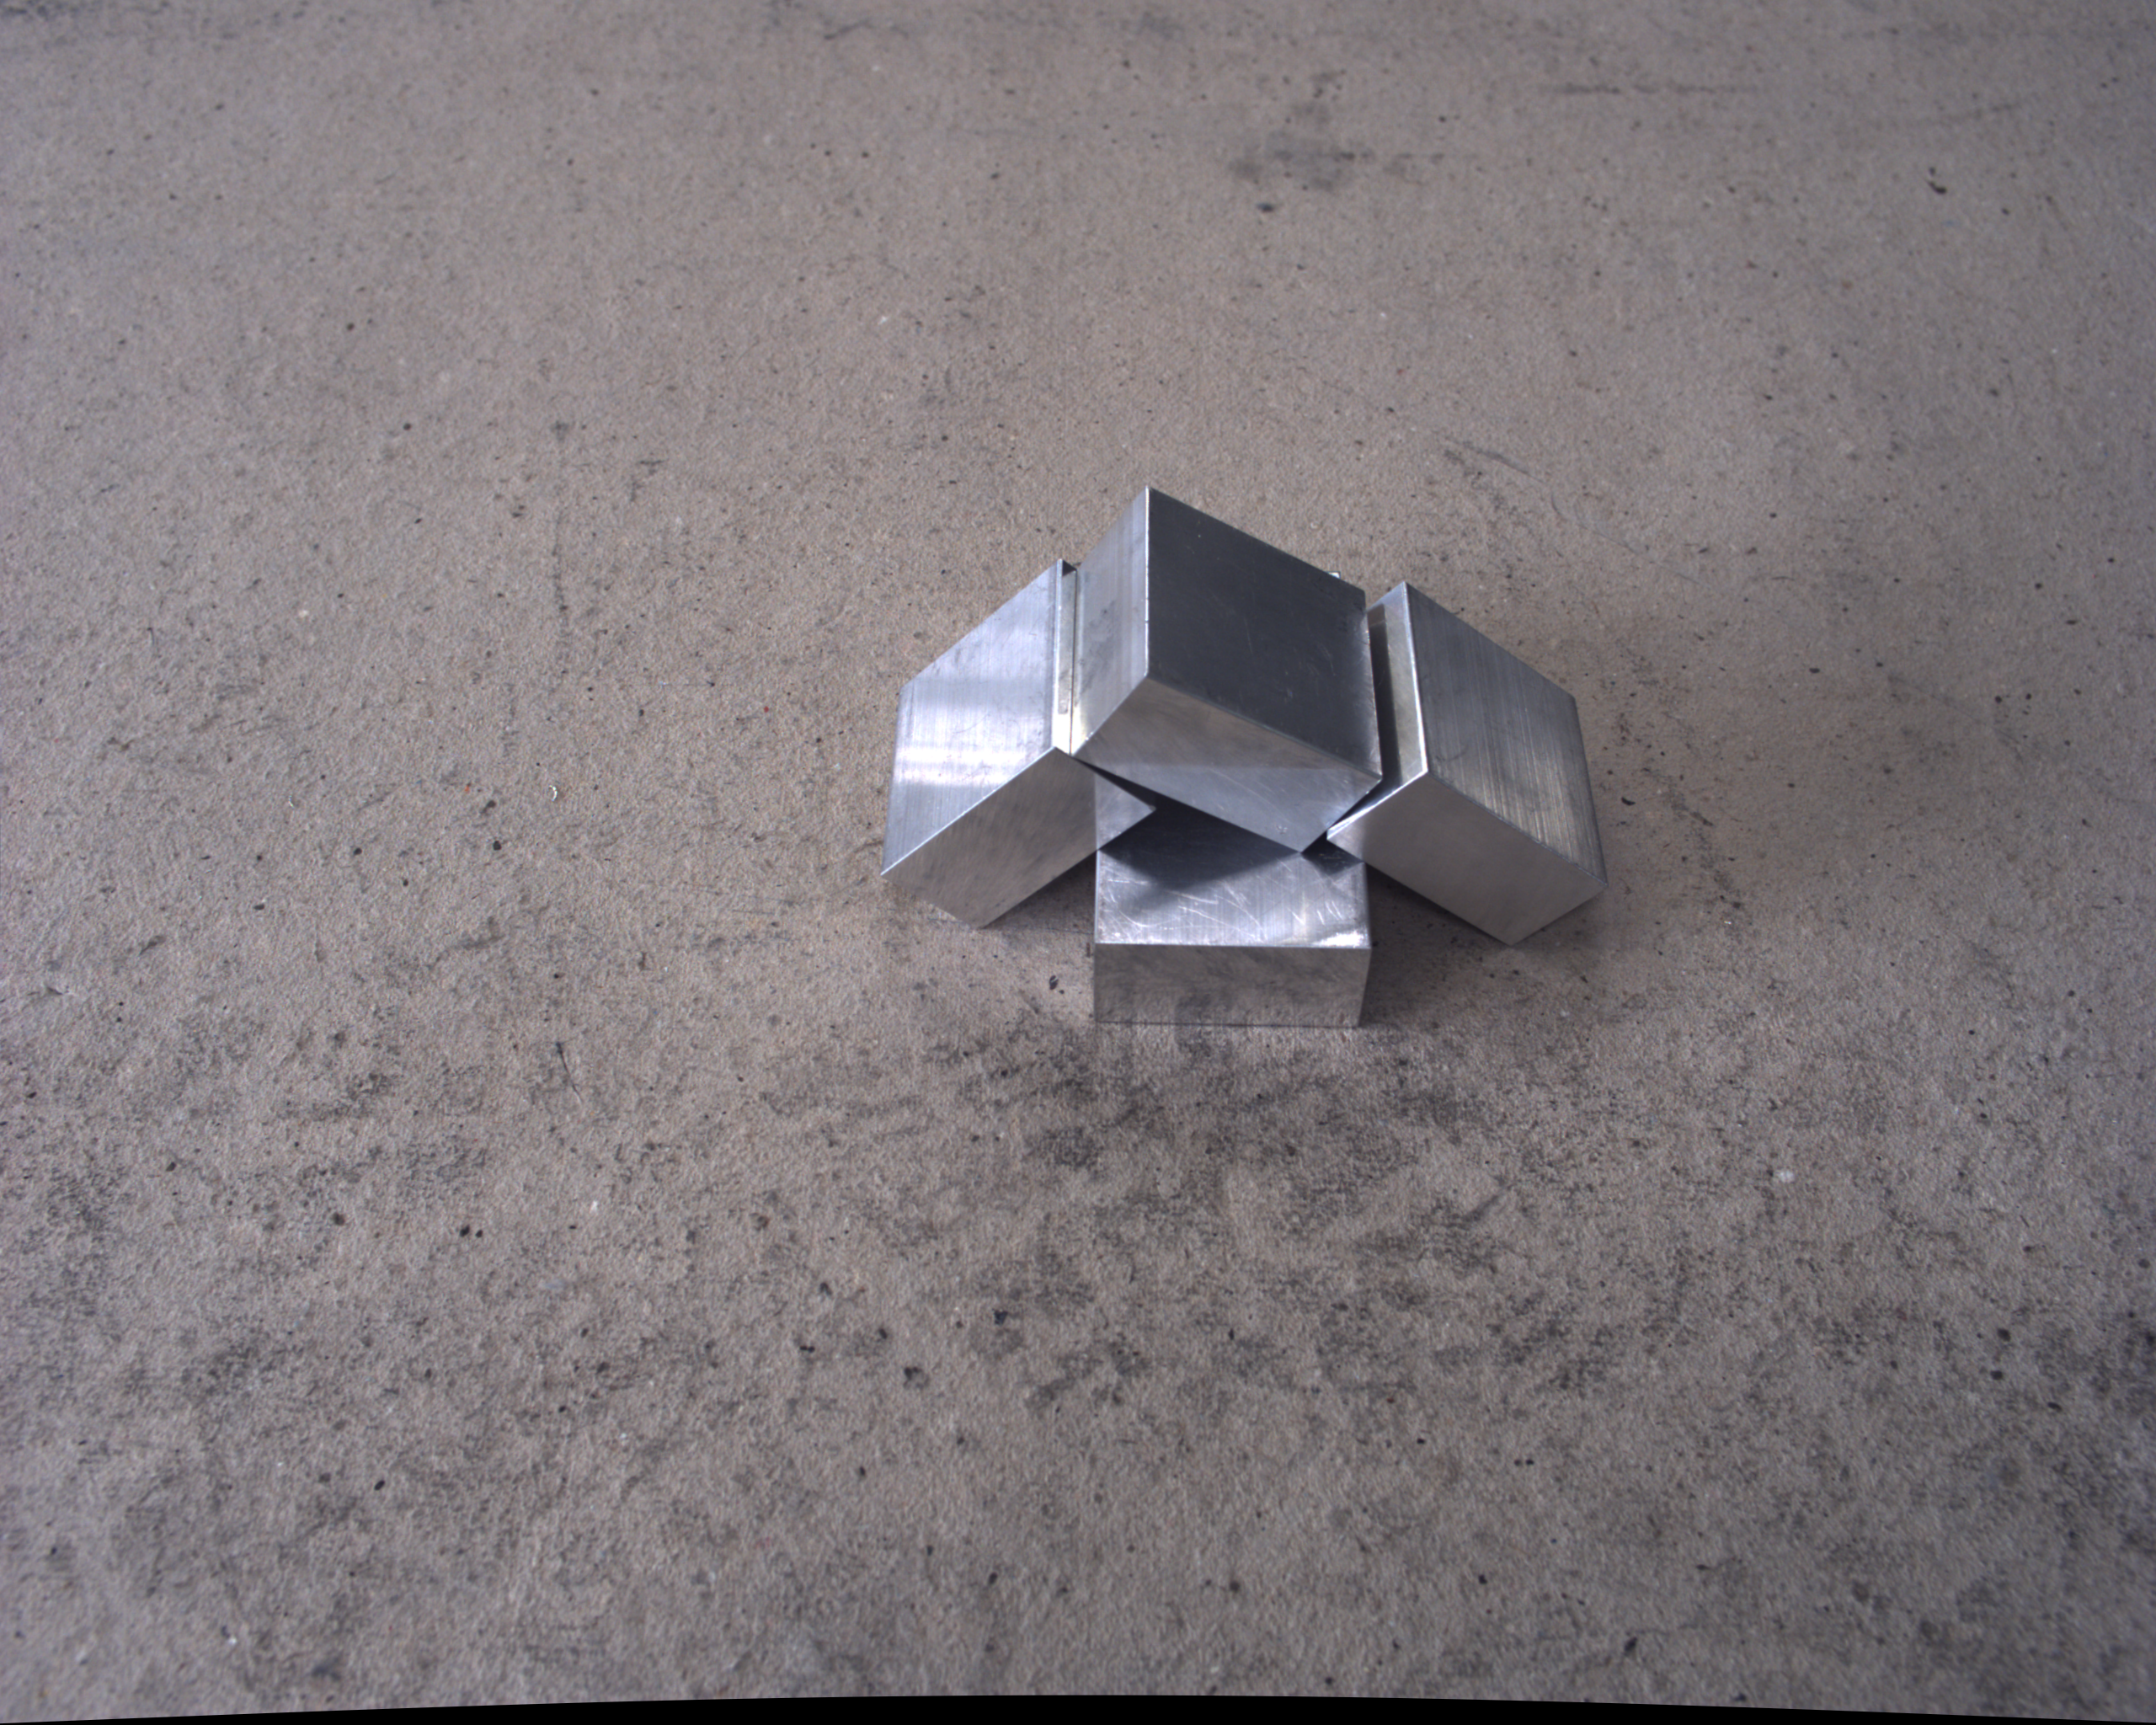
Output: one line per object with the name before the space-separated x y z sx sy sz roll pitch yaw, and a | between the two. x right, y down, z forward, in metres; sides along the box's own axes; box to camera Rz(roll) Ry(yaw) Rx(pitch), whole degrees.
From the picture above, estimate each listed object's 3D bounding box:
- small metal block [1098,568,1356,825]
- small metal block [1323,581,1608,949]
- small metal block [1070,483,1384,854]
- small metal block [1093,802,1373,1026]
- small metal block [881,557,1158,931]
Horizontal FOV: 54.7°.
small metal block | 0.030 -0.035 0.434 0.050 0.025 0.050 1 50 0
small metal block | 0.073 -0.019 0.405 0.050 0.025 0.050 29 44 -29
small metal block | 0.027 -0.036 0.388 0.050 0.025 0.050 22 46 -22
small metal block | 0.028 0.004 0.401 0.050 0.025 0.050 1 50 0
small metal block | -0.011 -0.023 0.406 0.025 0.050 0.050 31 42 -31
